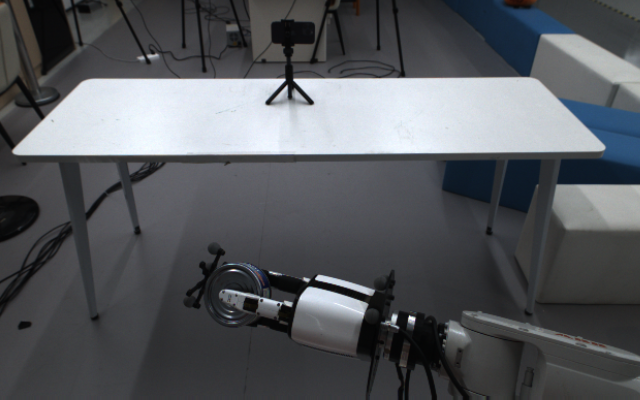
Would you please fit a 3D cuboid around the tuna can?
[{"bbox_3d":[-0.107,0.131,0.646,0.085,0.085,0.034,12,-4,14],"label":"tuna can"}]
